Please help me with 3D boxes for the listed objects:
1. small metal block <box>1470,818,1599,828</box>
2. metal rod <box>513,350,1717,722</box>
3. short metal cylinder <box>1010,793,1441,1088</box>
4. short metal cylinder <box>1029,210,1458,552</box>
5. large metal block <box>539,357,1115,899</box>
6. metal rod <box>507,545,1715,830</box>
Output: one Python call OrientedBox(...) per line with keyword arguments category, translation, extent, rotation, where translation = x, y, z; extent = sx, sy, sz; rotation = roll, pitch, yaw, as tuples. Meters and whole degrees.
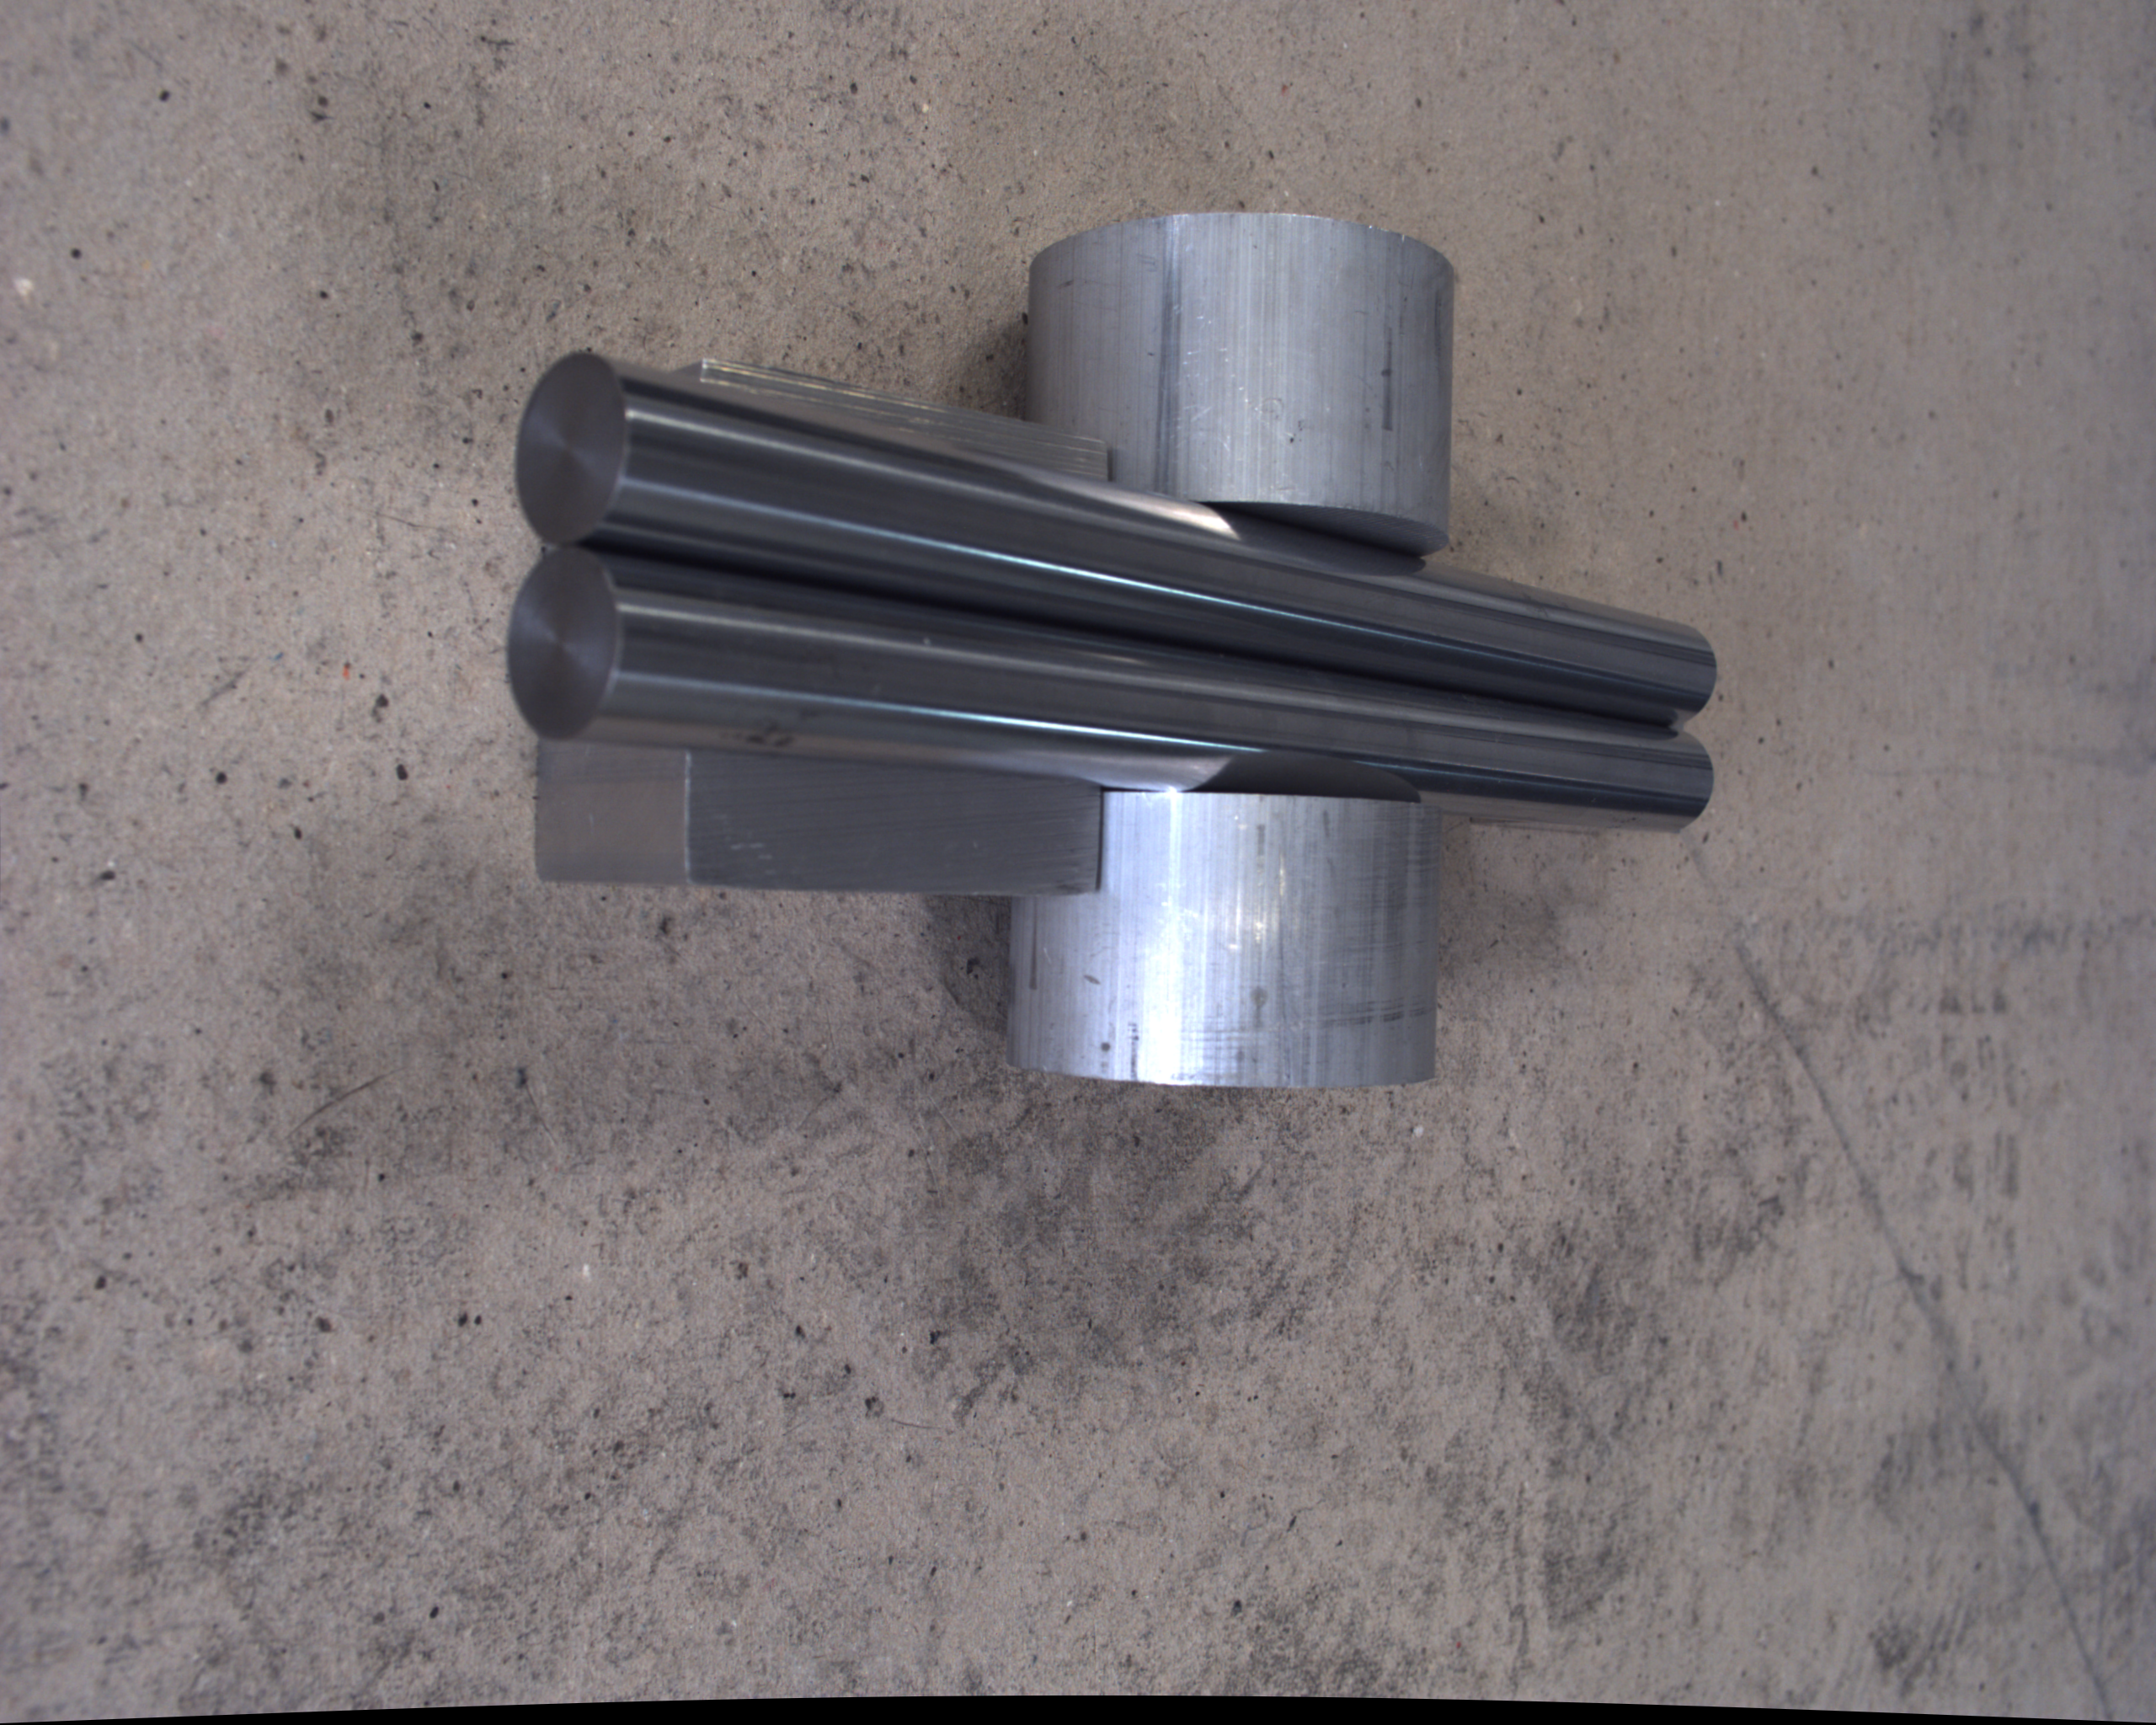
OrientedBox(category="small metal block", translation=(0.123, -0.033, 0.509), extent=(0.050, 0.025, 0.050), rotation=(4, 88, -40))
OrientedBox(category="metal rod", translation=(0.036, -0.049, 0.378), extent=(0.302, 0.025, 0.025), rotation=(2, 89, -48))
OrientedBox(category="short metal cylinder", translation=(0.028, 0.014, 0.393), extent=(0.081, 0.080, 0.050), rotation=(2, 89, -40))
OrientedBox(category="short metal cylinder", translation=(0.031, -0.086, 0.396), extent=(0.081, 0.080, 0.050), rotation=(2, 89, -40))
OrientedBox(category="large metal block", translation=(-0.042, -0.035, 0.355), extent=(0.081, 0.050, 0.080), rotation=(2, 89, -40))
OrientedBox(category="metal rod", translation=(0.036, -0.024, 0.378), extent=(0.302, 0.025, 0.025), rotation=(2, 89, -48))
